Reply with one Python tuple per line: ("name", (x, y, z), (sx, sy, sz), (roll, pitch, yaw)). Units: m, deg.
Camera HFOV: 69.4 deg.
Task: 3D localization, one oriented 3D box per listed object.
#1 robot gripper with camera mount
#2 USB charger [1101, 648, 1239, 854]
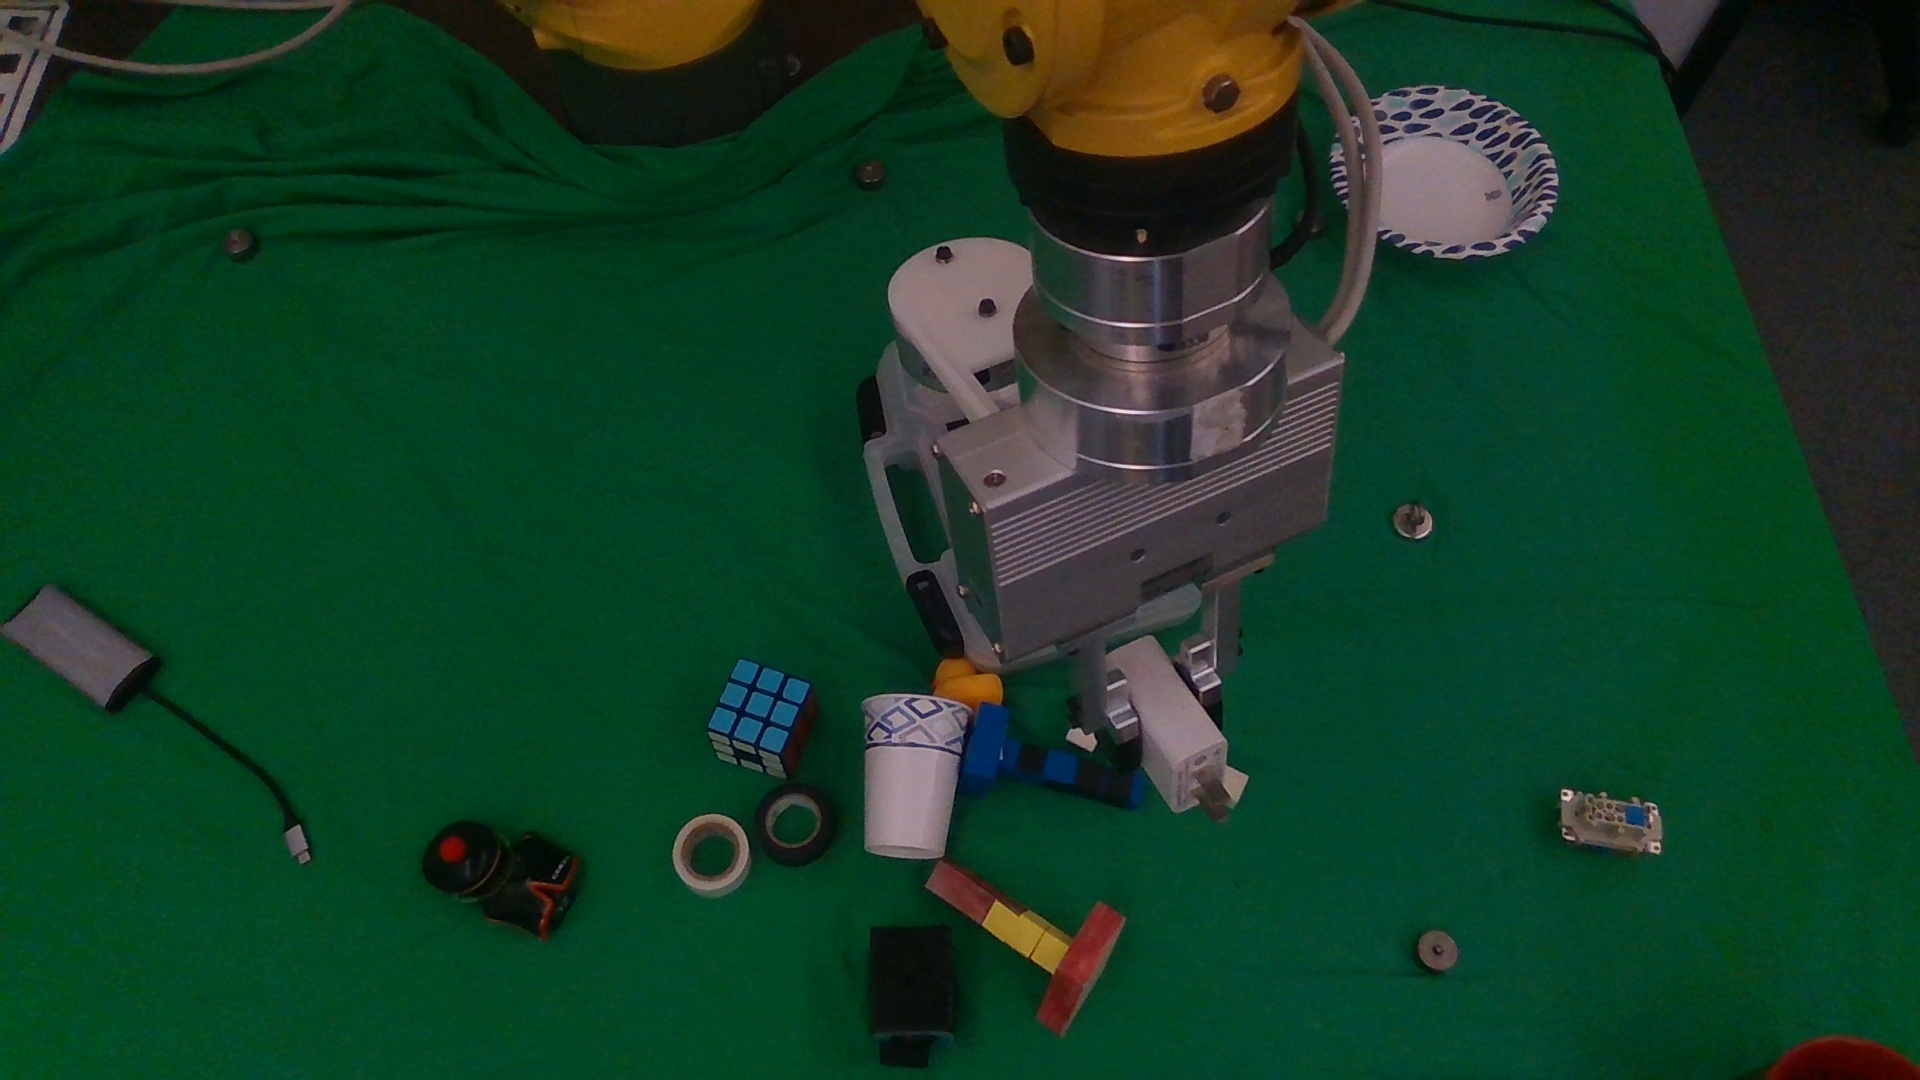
("robot gripper with camera mount", (0.040, -0.025, 0.519), (0.119, 0.158, 0.194), (-20, 41, -7))
("USB charger", (0.078, 0.078, 0.499), (0.029, 0.044, 0.076), (-22, 50, -9))
